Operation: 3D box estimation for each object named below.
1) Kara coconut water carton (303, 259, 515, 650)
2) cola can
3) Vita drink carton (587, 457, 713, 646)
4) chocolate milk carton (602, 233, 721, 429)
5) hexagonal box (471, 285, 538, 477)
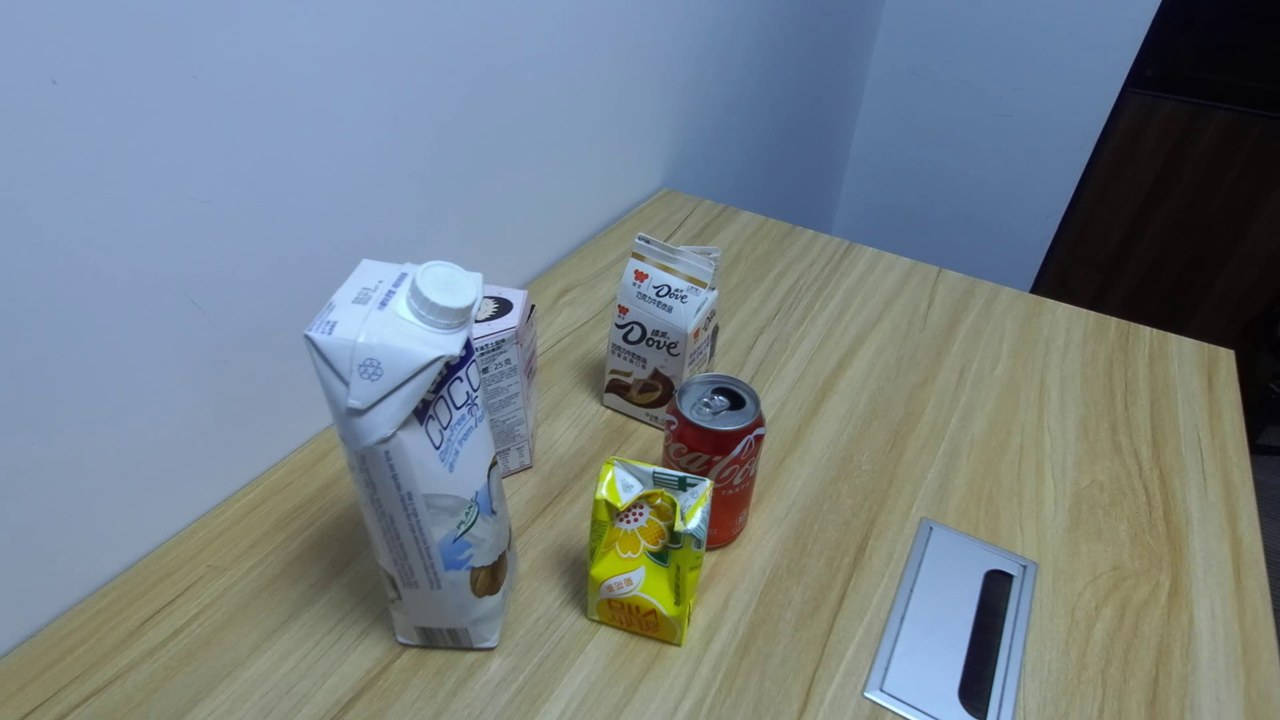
[{"bbox_3d":[-0.113,0.057,0.388,0.071,0.244,0.099,3,38,1],"label":"Kara coconut water carton"},{"bbox_3d":[0.049,0.070,0.487,0.068,0.120,0.067,2,38,-2],"label":"cola can"},{"bbox_3d":[0.004,0.119,0.429,0.071,0.110,0.046,11,37,13],"label":"Vita drink carton"},{"bbox_3d":[0.017,-0.028,0.576,0.084,0.155,0.073,20,40,20],"label":"chocolate milk carton"},{"bbox_3d":[-0.120,0.018,0.529,0.085,0.135,0.092,1,38,-3],"label":"hexagonal box"}]
